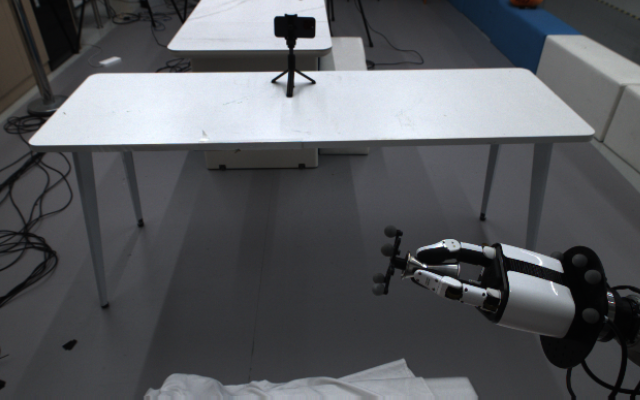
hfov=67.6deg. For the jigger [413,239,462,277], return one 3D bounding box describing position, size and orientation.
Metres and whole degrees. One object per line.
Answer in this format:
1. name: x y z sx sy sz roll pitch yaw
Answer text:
1. jigger: 0.152 0.092 0.641 0.071 0.043 0.043 14 36 4
